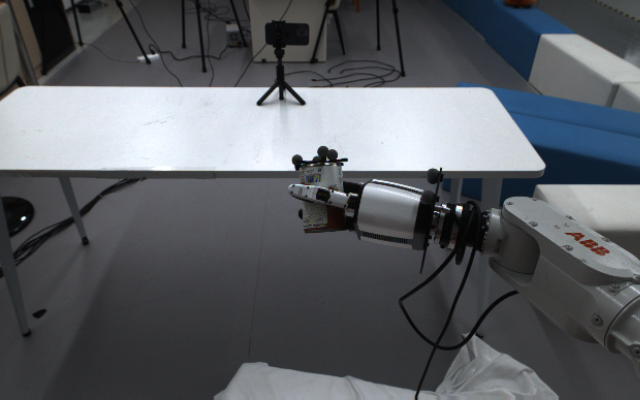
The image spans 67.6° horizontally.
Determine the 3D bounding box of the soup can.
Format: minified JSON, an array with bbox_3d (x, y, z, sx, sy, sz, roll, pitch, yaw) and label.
[{"bbox_3d":[0.006,-0.001,0.743,0.067,0.101,0.067,-5,-5,0],"label":"soup can"}]
